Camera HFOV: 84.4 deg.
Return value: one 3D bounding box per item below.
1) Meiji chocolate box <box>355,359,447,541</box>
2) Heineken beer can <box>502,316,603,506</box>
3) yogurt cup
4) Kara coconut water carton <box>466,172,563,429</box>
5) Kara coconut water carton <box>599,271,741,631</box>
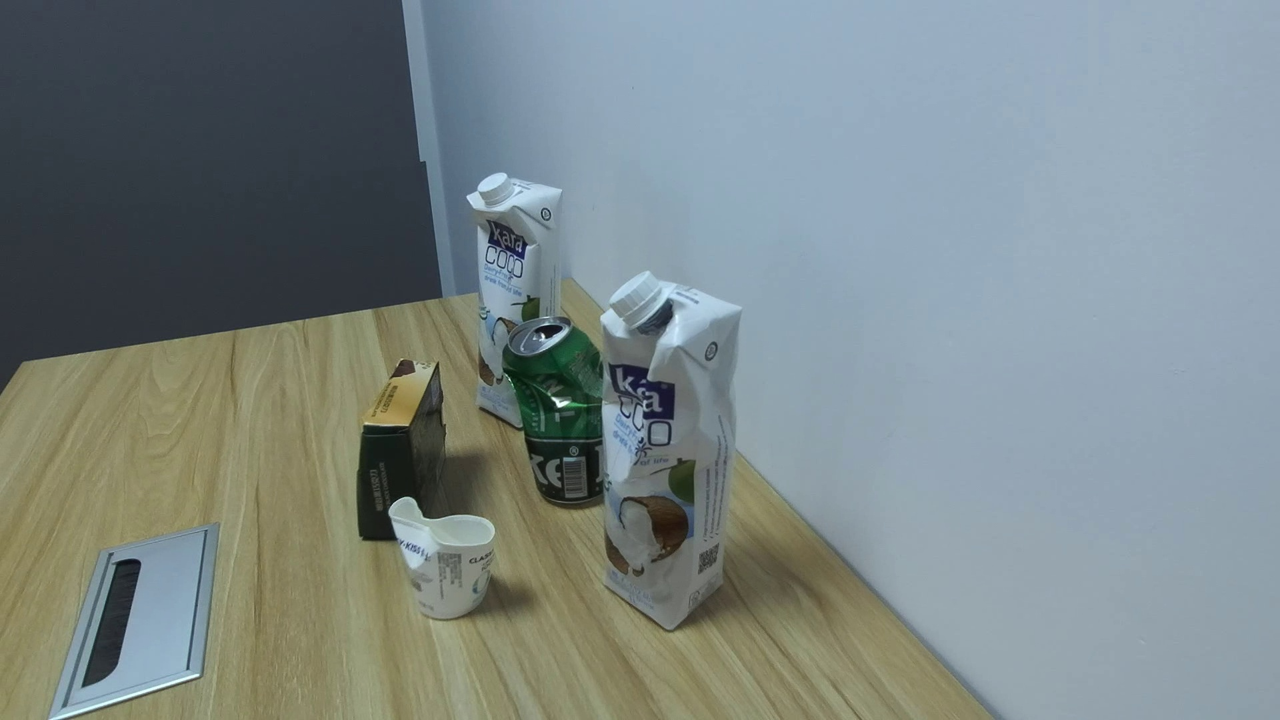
[{"bbox_3d":[-0.200,0.072,0.589,0.058,0.111,0.113,2,28,-7],"label":"Meiji chocolate box"},{"bbox_3d":[-0.062,0.045,0.599,0.079,0.159,0.067,-17,28,-16],"label":"Heineken beer can"},{"bbox_3d":[-0.137,0.139,0.502,0.075,0.071,0.053,-1,29,-2],"label":"yogurt cup"},{"bbox_3d":[-0.116,-0.058,0.686,0.099,0.244,0.071,20,31,36],"label":"Kara coconut water carton"},{"bbox_3d":[0.015,0.056,0.463,0.079,0.256,0.083,-21,36,-30],"label":"Kara coconut water carton"}]
